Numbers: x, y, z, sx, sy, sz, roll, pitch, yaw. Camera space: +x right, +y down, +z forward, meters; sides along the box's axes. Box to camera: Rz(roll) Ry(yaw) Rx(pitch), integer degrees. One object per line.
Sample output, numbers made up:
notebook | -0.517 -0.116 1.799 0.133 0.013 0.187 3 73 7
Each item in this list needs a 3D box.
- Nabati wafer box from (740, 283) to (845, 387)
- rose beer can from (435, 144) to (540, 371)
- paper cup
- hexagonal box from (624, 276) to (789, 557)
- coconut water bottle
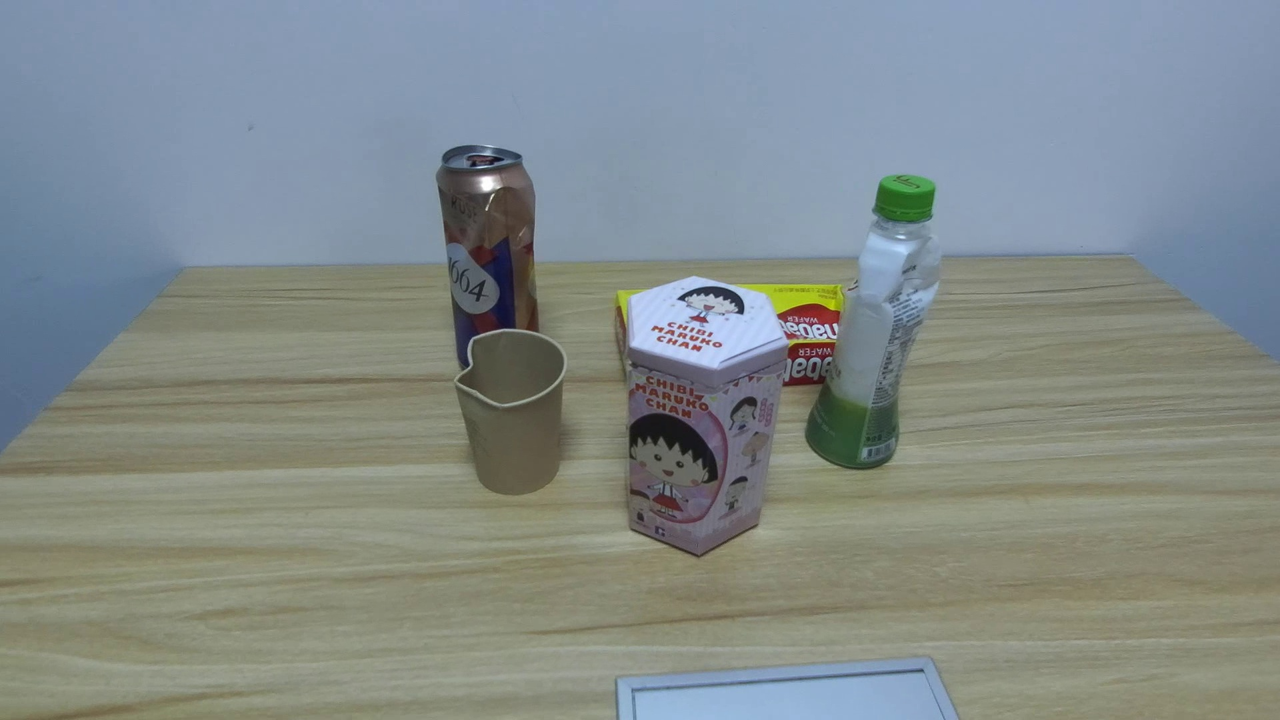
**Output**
Nabati wafer box | 0.086 -0.021 0.575 0.203 0.042 0.096 -3 31 -4
rose beer can | -0.108 -0.069 0.524 0.065 0.167 0.075 -13 34 -25
paper cup | -0.079 0.035 0.447 0.073 0.081 0.069 23 40 26
hexagonal box | 0.033 0.034 0.405 0.091 0.136 0.084 16 37 20
coconut water bottle | 0.148 -0.021 0.442 0.067 0.187 0.067 0 34 0
